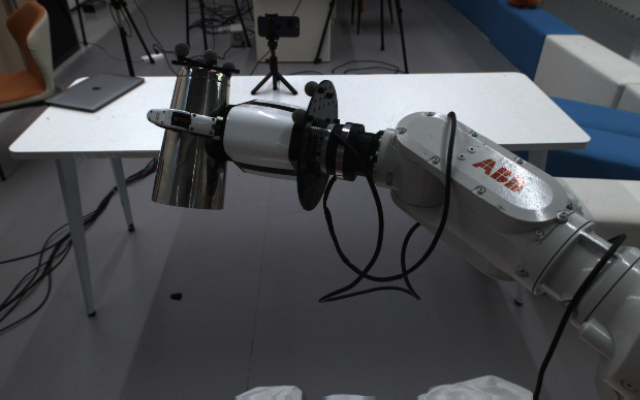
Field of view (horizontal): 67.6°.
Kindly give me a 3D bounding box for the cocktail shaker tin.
[{"bbox_3d":[-0.159,-0.078,0.623,0.093,0.170,0.093,8,3,0],"label":"cocktail shaker tin"}]
